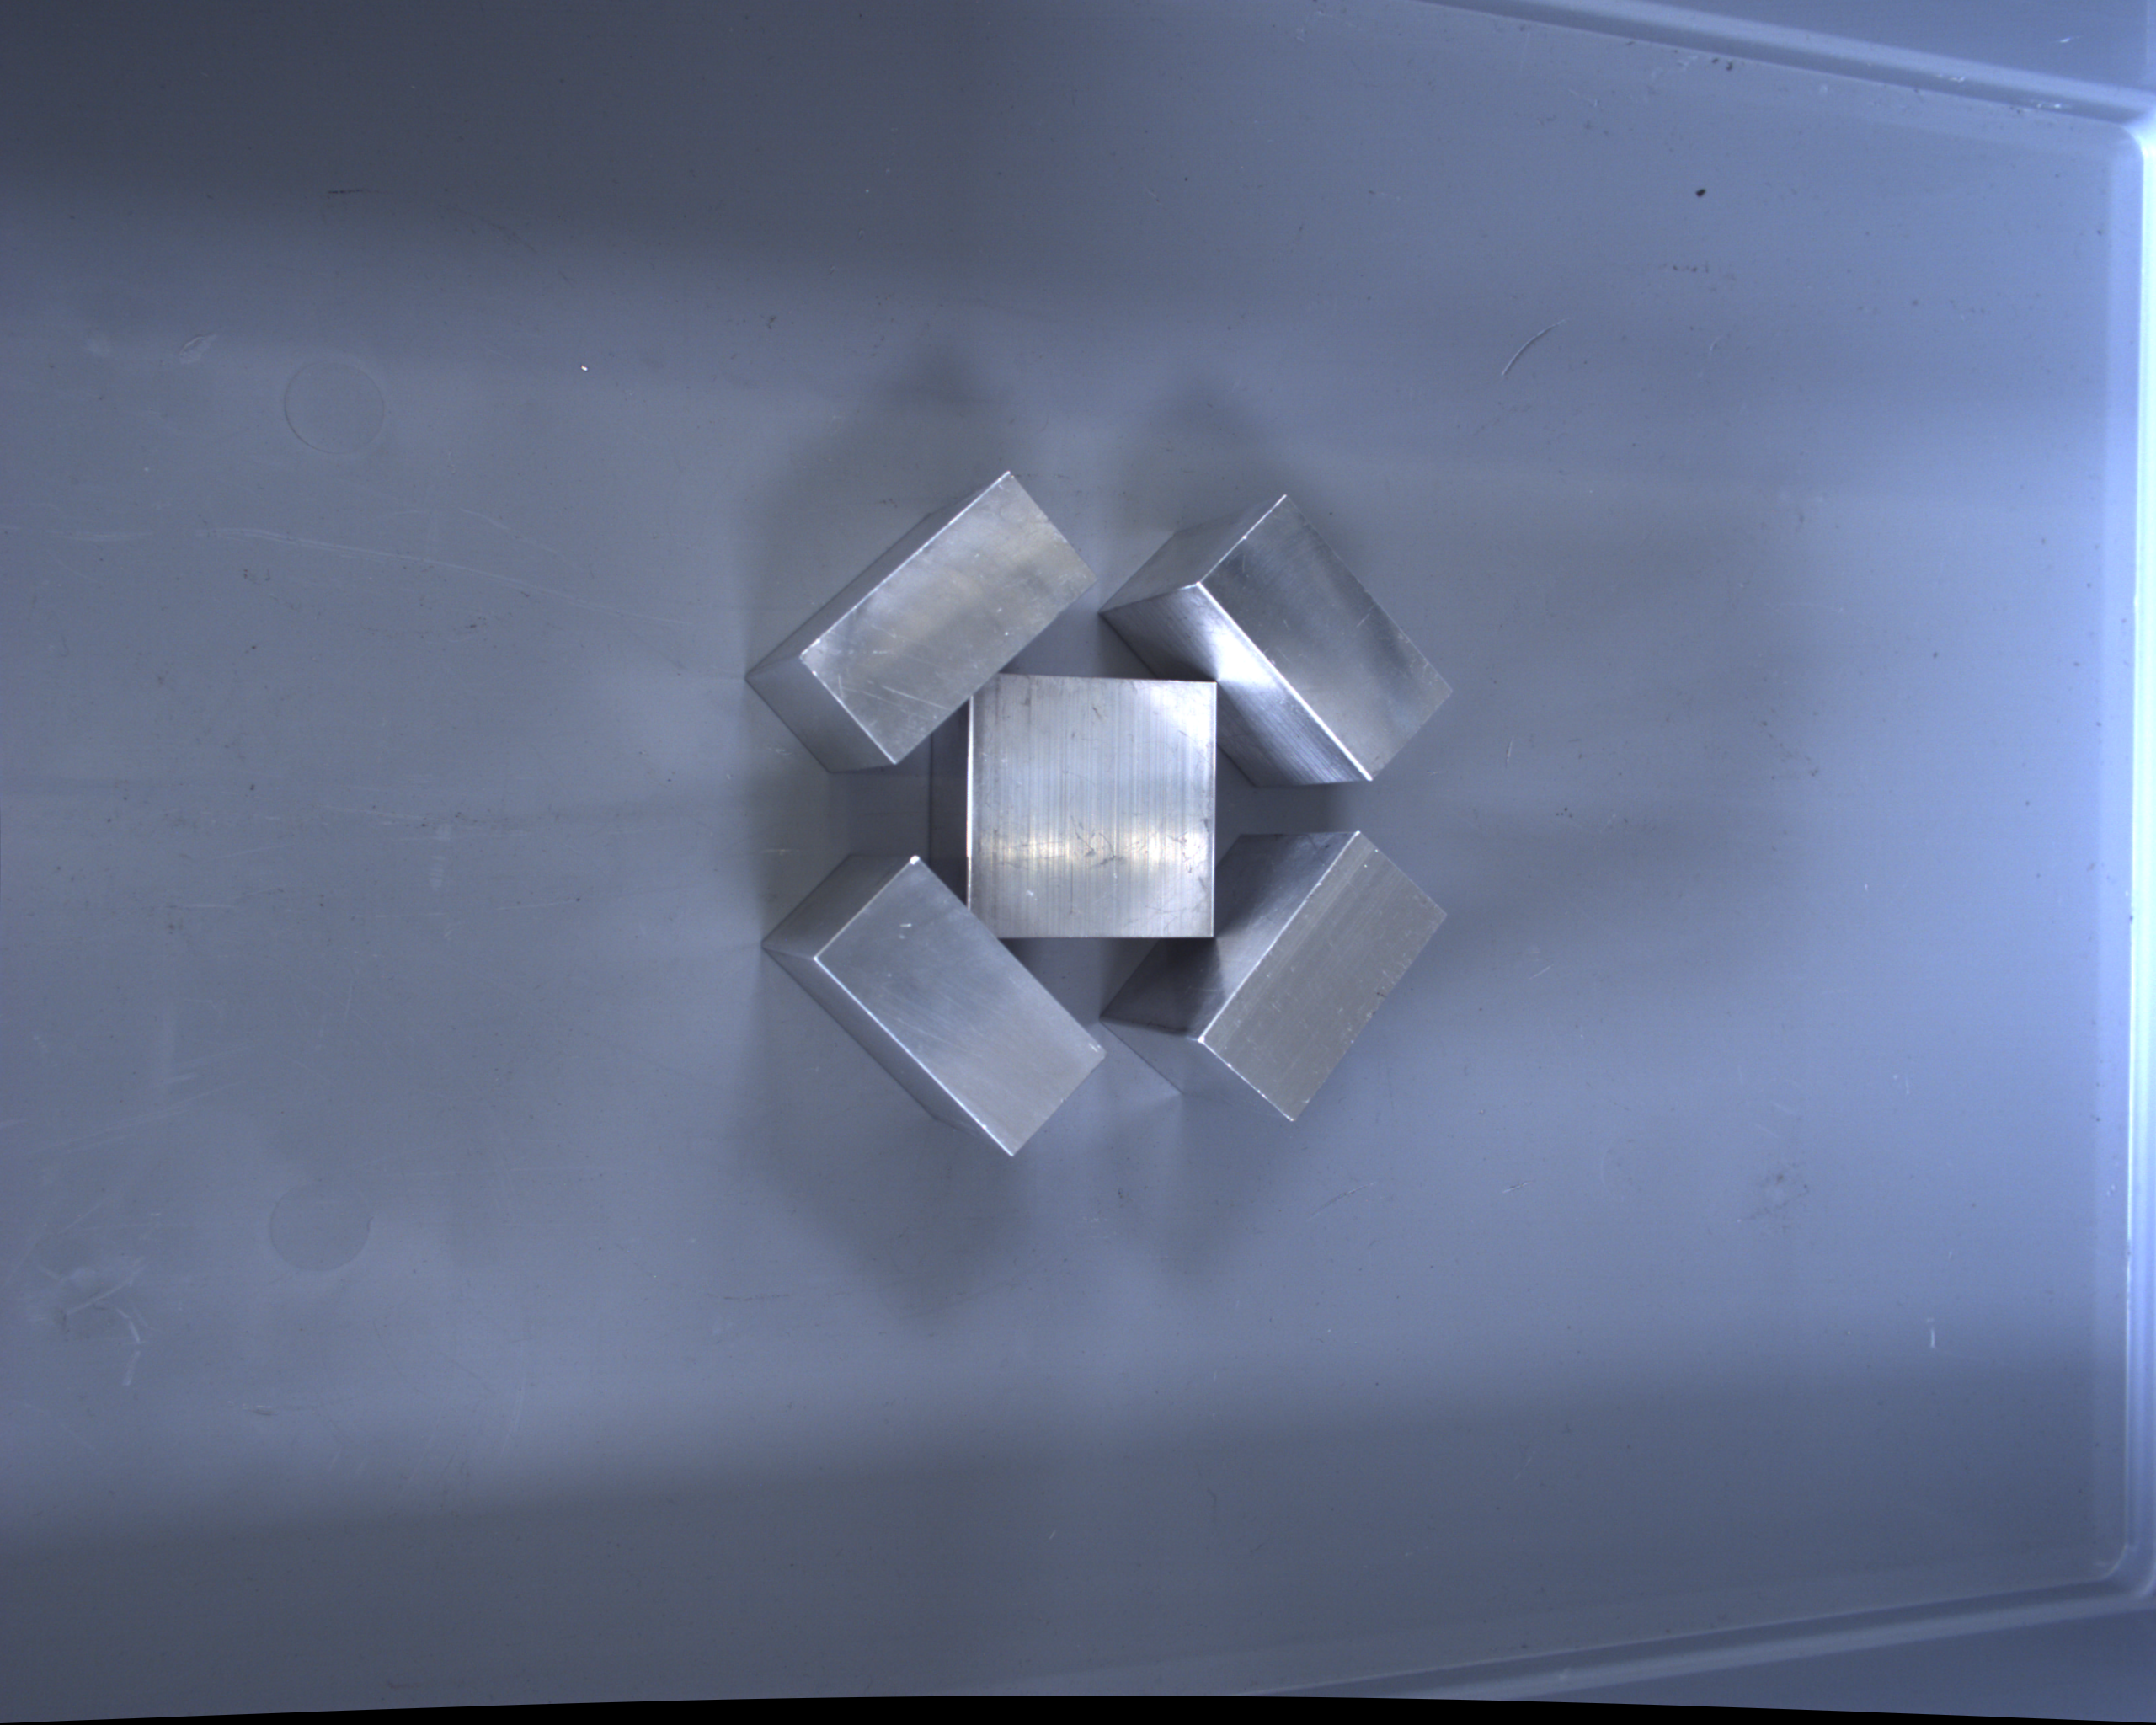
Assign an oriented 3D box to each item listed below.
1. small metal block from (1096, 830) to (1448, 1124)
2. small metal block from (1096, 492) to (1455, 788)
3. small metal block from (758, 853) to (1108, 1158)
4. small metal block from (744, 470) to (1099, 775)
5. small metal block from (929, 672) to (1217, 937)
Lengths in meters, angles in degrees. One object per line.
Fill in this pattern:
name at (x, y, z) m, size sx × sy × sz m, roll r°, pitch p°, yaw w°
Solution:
small metal block at (0.037, 0.021, 0.408) m, size 0.025 × 0.050 × 0.050 m, roll 42°, pitch 76°, yaw -16°
small metal block at (0.037, -0.042, 0.408) m, size 0.025 × 0.050 × 0.050 m, roll -47°, pitch 106°, yaw -15°
small metal block at (-0.028, 0.025, 0.385) m, size 0.025 × 0.050 × 0.050 m, roll -46°, pitch 104°, yaw -13°
small metal block at (-0.030, -0.043, 0.384) m, size 0.050 × 0.050 × 0.025 m, roll -43°, pitch 103°, yaw -14°
small metal block at (-0.001, -0.011, 0.408) m, size 0.050 × 0.025 × 0.050 m, roll 1°, pitch 90°, yaw -20°
